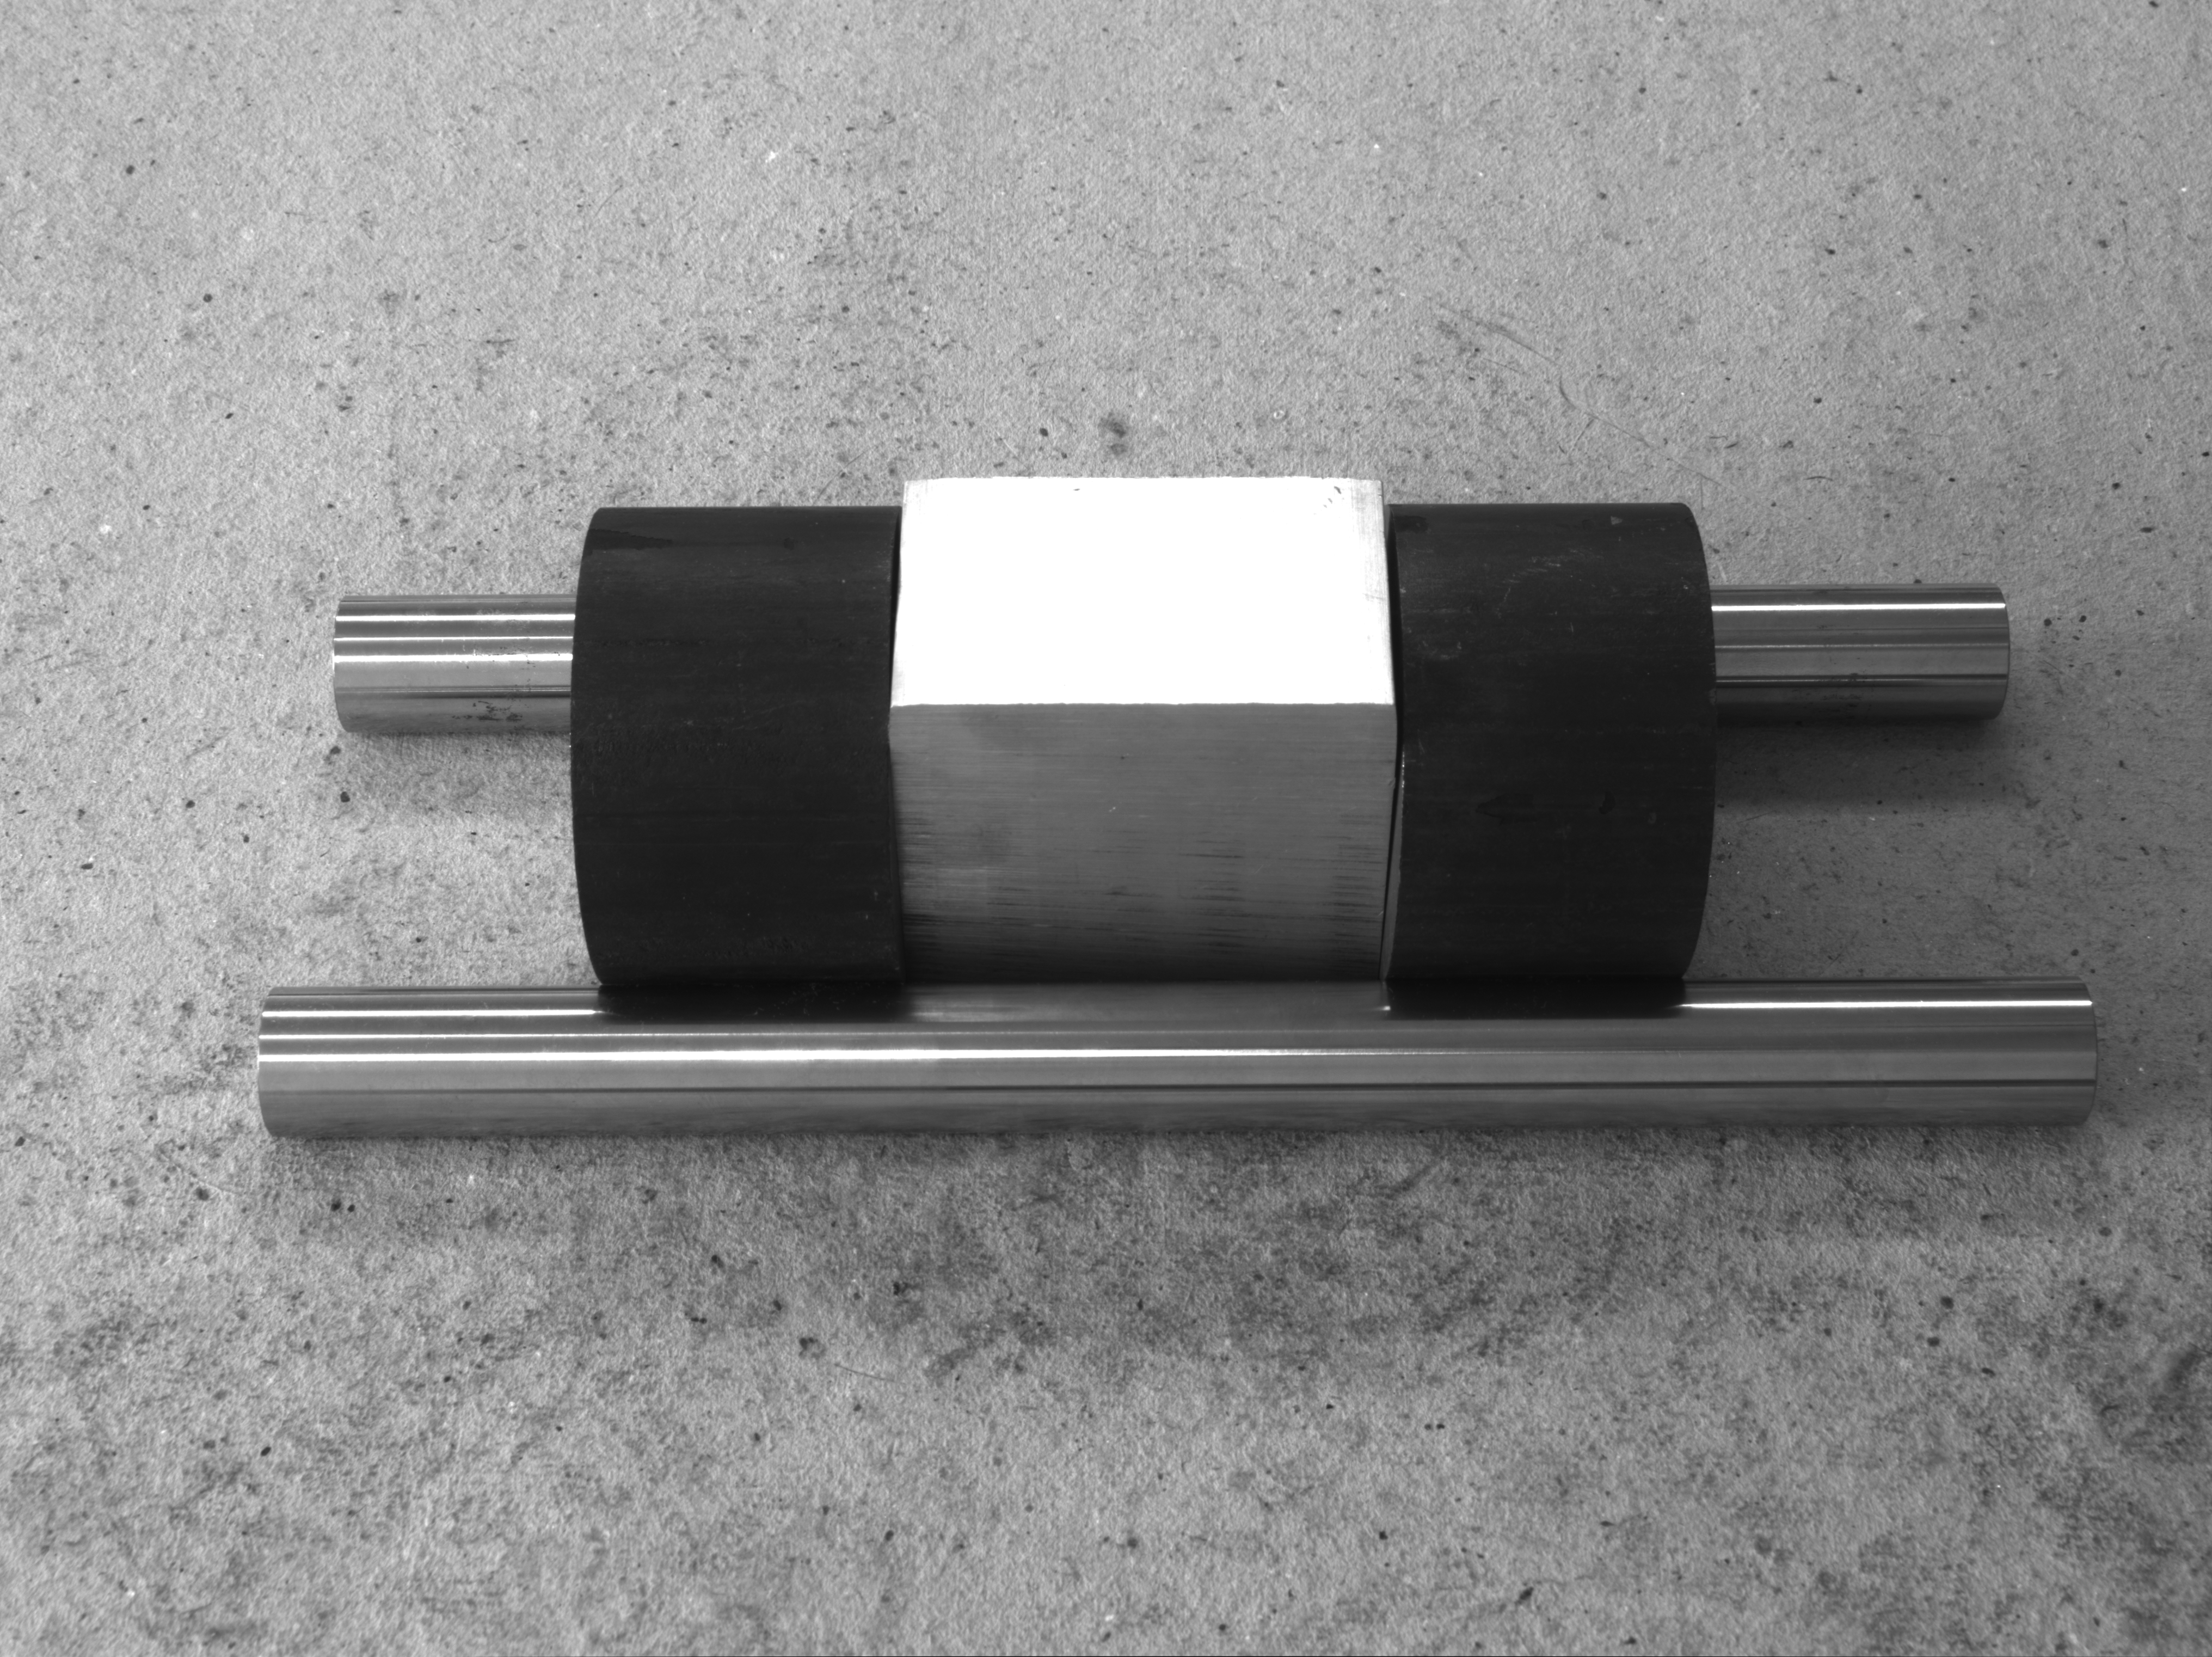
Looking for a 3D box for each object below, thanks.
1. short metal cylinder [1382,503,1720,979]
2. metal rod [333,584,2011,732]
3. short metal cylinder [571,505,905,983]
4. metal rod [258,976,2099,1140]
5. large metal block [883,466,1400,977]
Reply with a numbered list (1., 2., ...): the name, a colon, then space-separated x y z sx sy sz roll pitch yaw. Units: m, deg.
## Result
1. short metal cylinder: 0.072 -0.015 0.619 0.050 0.080 0.080 -1 50 0
2. metal rod: 0.012 -0.031 0.669 0.300 0.025 0.025 0 50 0
3. short metal cylinder: -0.059 -0.014 0.618 0.050 0.080 0.080 -1 50 0
4. metal rod: 0.012 0.038 0.611 0.300 0.025 0.025 0 50 0
5. large metal block: 0.006 -0.014 0.616 0.080 0.080 0.050 0 50 0
